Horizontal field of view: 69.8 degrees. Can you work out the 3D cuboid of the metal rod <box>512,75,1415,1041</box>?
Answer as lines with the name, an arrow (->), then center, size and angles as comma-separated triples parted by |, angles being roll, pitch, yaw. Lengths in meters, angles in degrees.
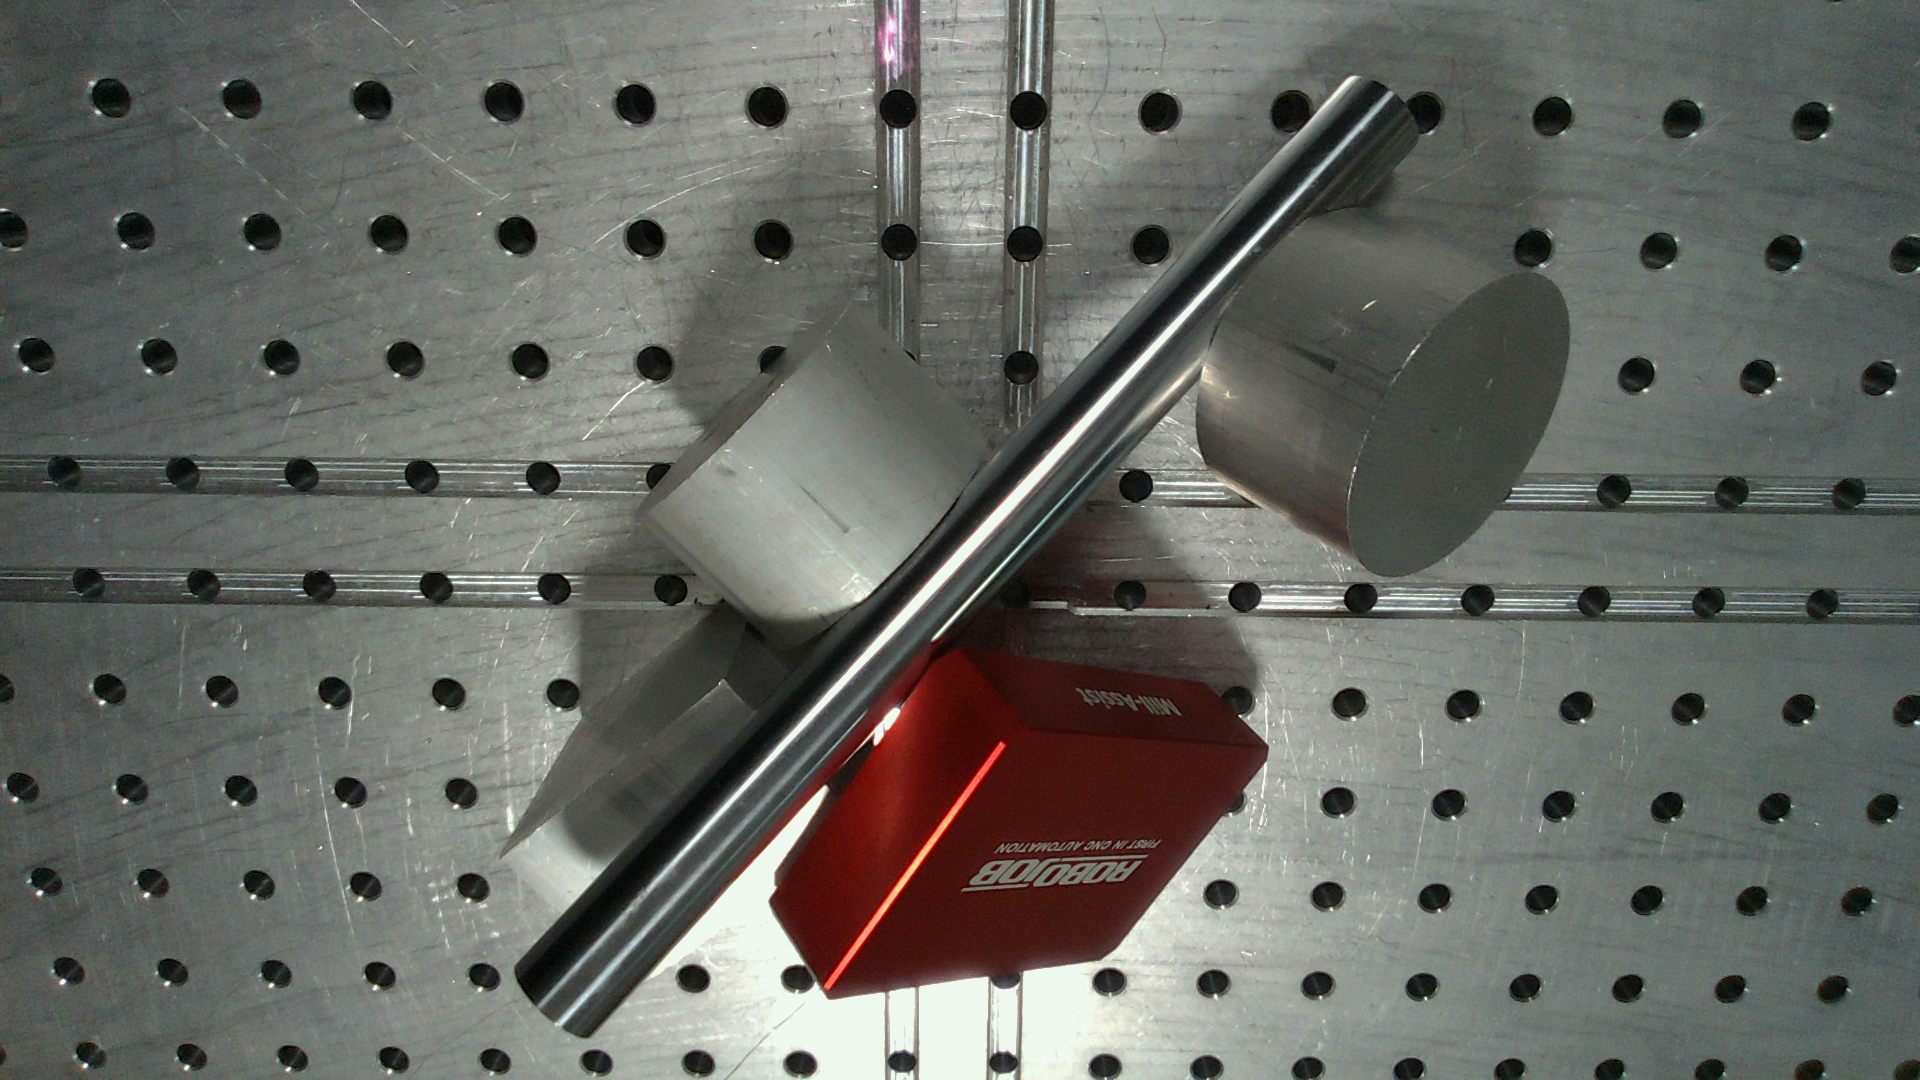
metal rod -> 0.006, -0.001, 0.339 | 0.025, 0.025, 0.300 | 45, 83, -15

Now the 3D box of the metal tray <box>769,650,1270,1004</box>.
metal tray -> 0.022, 0.079, 0.381 | 0.131, 0.030, 0.090 | 13, 117, -50

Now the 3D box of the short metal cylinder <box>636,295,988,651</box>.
short metal cylinder -> -0.039, -0.018, 0.360 | 0.080, 0.080, 0.050 | -42, 105, 14

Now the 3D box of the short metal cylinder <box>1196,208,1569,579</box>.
short metal cylinder -> 0.107, -0.037, 0.349 | 0.080, 0.050, 0.080 | -23, 132, -29

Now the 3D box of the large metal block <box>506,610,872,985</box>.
large metal block -> -0.070, 0.065, 0.390 | 0.080, 0.080, 0.050 | -38, 106, 13
